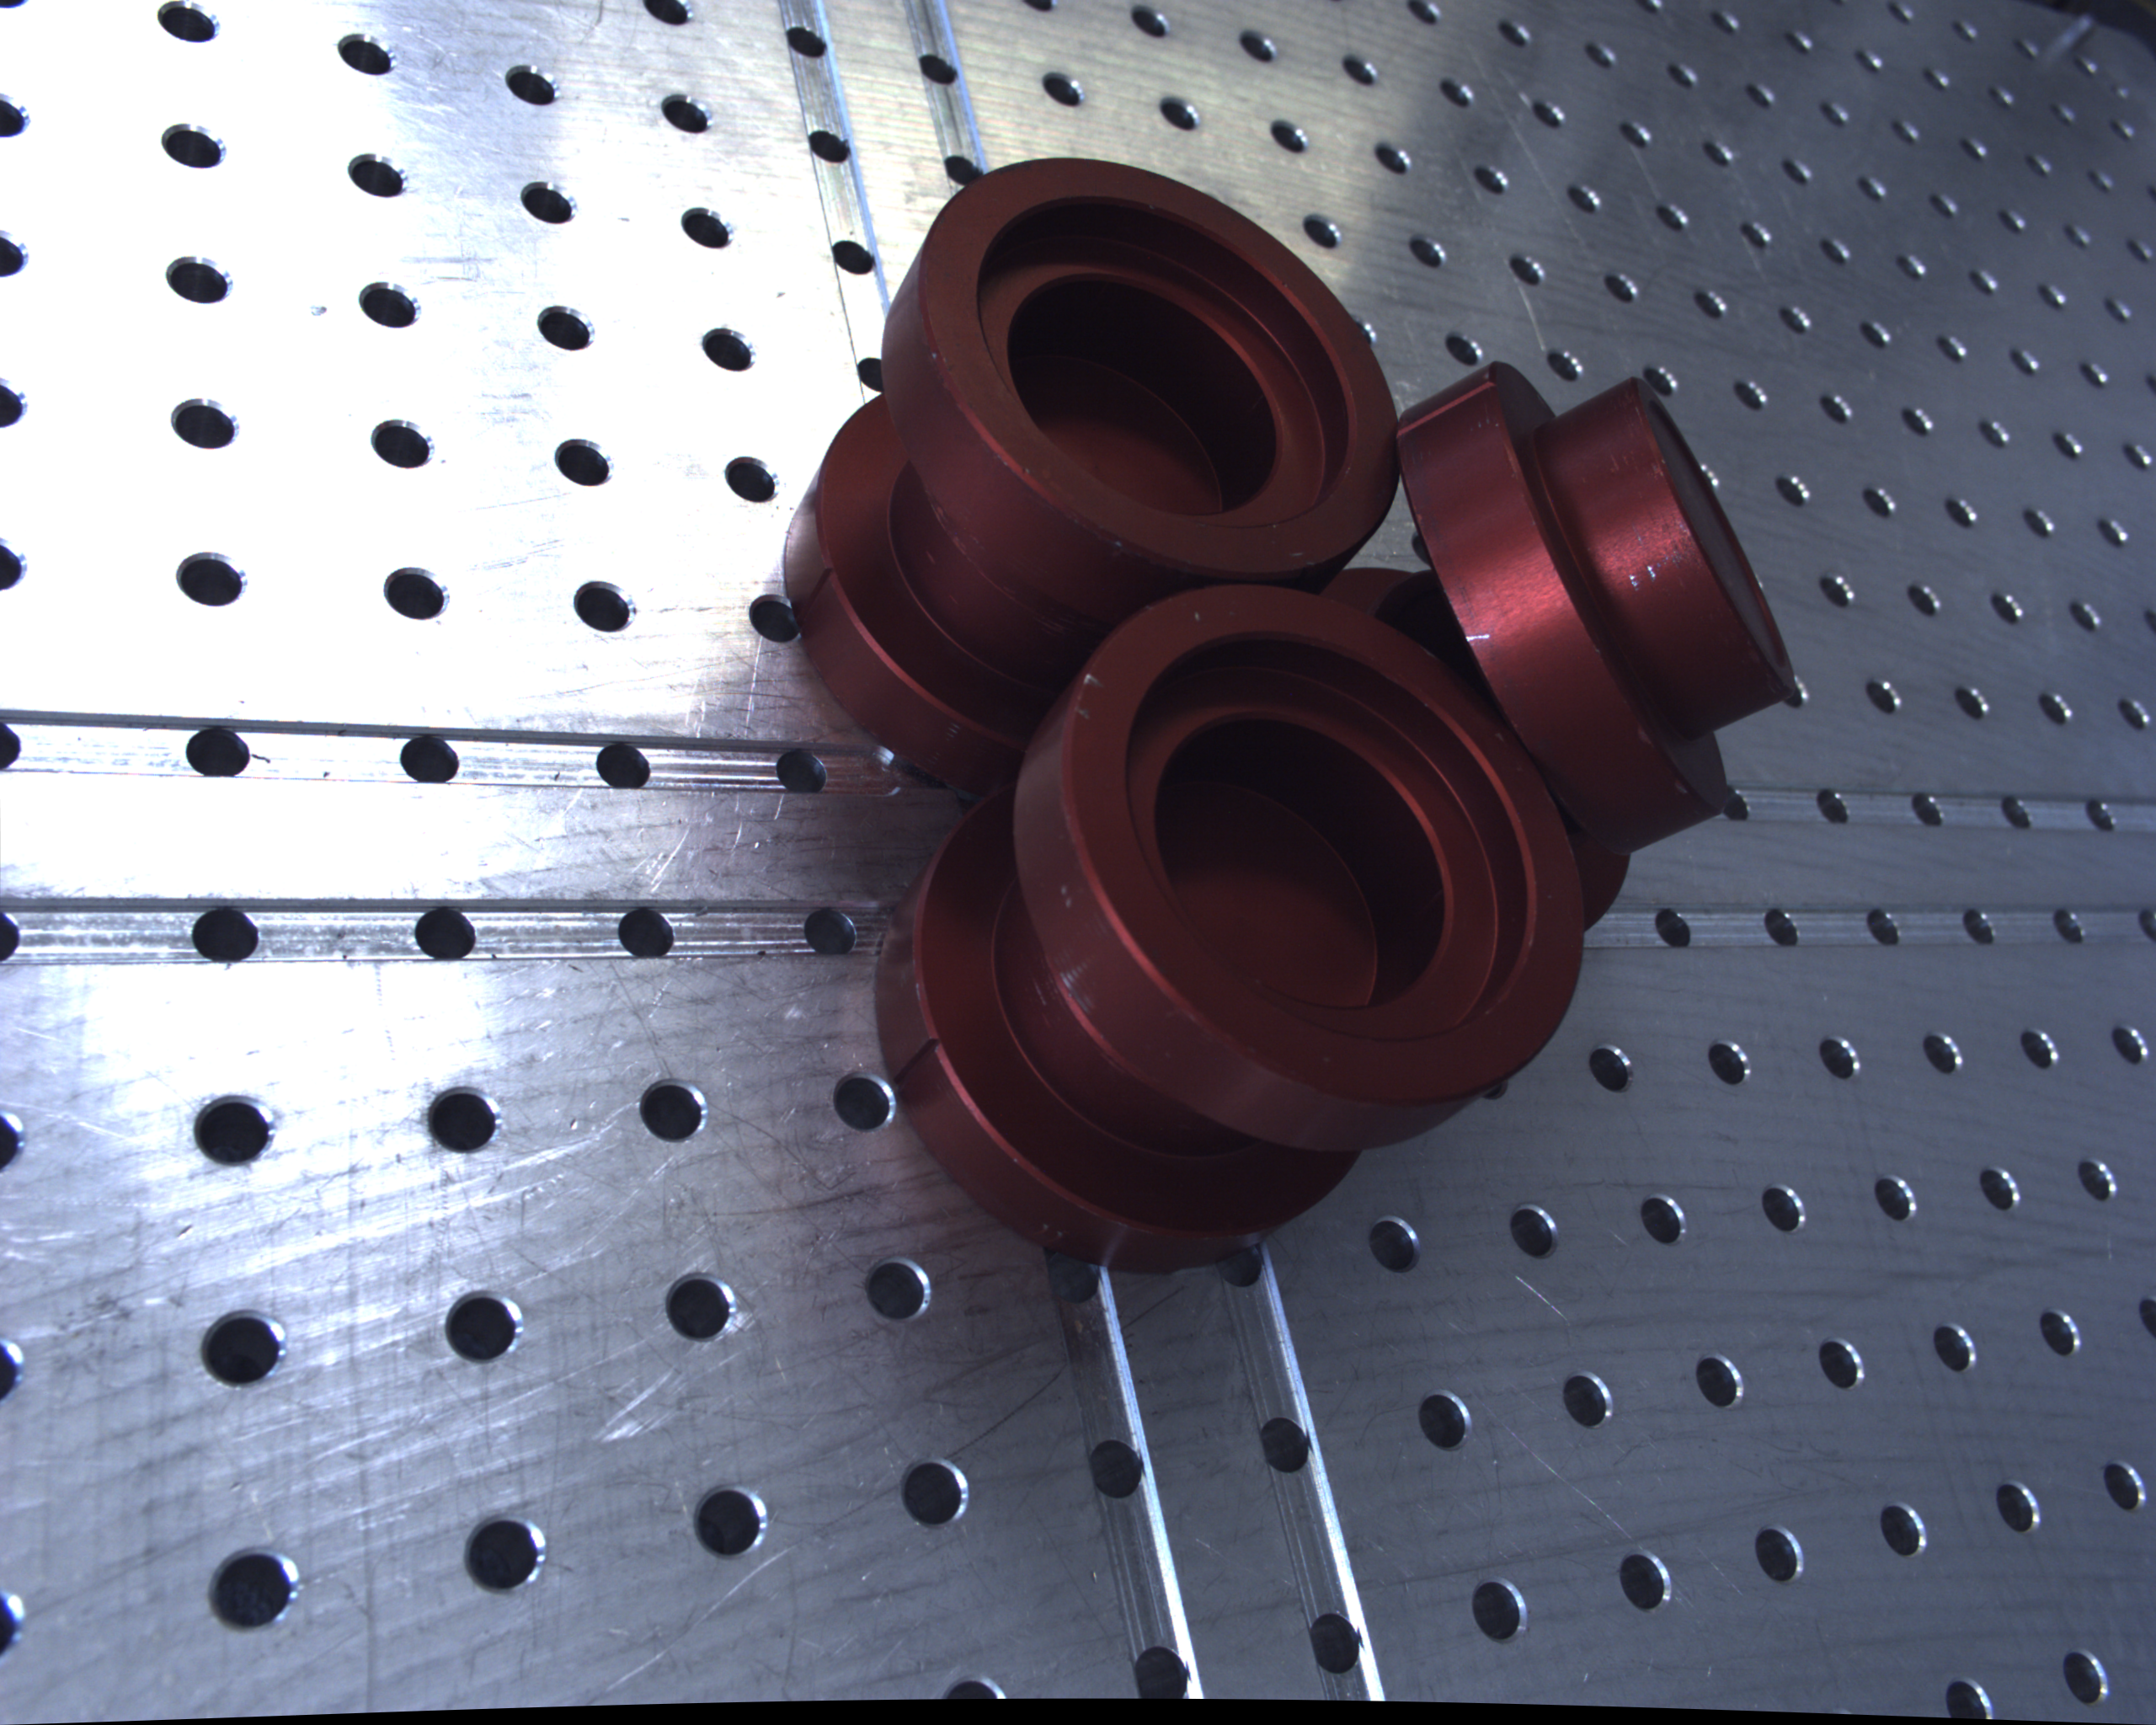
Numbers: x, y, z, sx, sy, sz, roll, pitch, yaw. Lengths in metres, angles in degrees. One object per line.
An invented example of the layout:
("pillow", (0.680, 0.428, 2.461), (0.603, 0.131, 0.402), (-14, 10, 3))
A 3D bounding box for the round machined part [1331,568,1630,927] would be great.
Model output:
("round machined part", (0.081, -0.025, 0.456), (0.099, 0.042, 0.098), (13, 56, -21))

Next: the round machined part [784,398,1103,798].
("round machined part", (-0.008, -0.063, 0.432), (0.099, 0.042, 0.098), (13, 56, -21))

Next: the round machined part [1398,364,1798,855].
("round machined part", (0.105, -0.054, 0.405), (0.098, 0.042, 0.098), (45, 30, -35))

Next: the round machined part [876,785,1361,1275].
("round machined part", (0.015, 0.024, 0.391), (0.099, 0.042, 0.098), (13, 56, -21))

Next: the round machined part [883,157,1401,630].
("round machined part", (0.009, -0.083, 0.398), (0.099, 0.042, 0.098), (13, 56, -21))

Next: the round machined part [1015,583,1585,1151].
("round machined part", (0.034, 0.004, 0.358), (0.099, 0.042, 0.098), (13, 56, -21))
